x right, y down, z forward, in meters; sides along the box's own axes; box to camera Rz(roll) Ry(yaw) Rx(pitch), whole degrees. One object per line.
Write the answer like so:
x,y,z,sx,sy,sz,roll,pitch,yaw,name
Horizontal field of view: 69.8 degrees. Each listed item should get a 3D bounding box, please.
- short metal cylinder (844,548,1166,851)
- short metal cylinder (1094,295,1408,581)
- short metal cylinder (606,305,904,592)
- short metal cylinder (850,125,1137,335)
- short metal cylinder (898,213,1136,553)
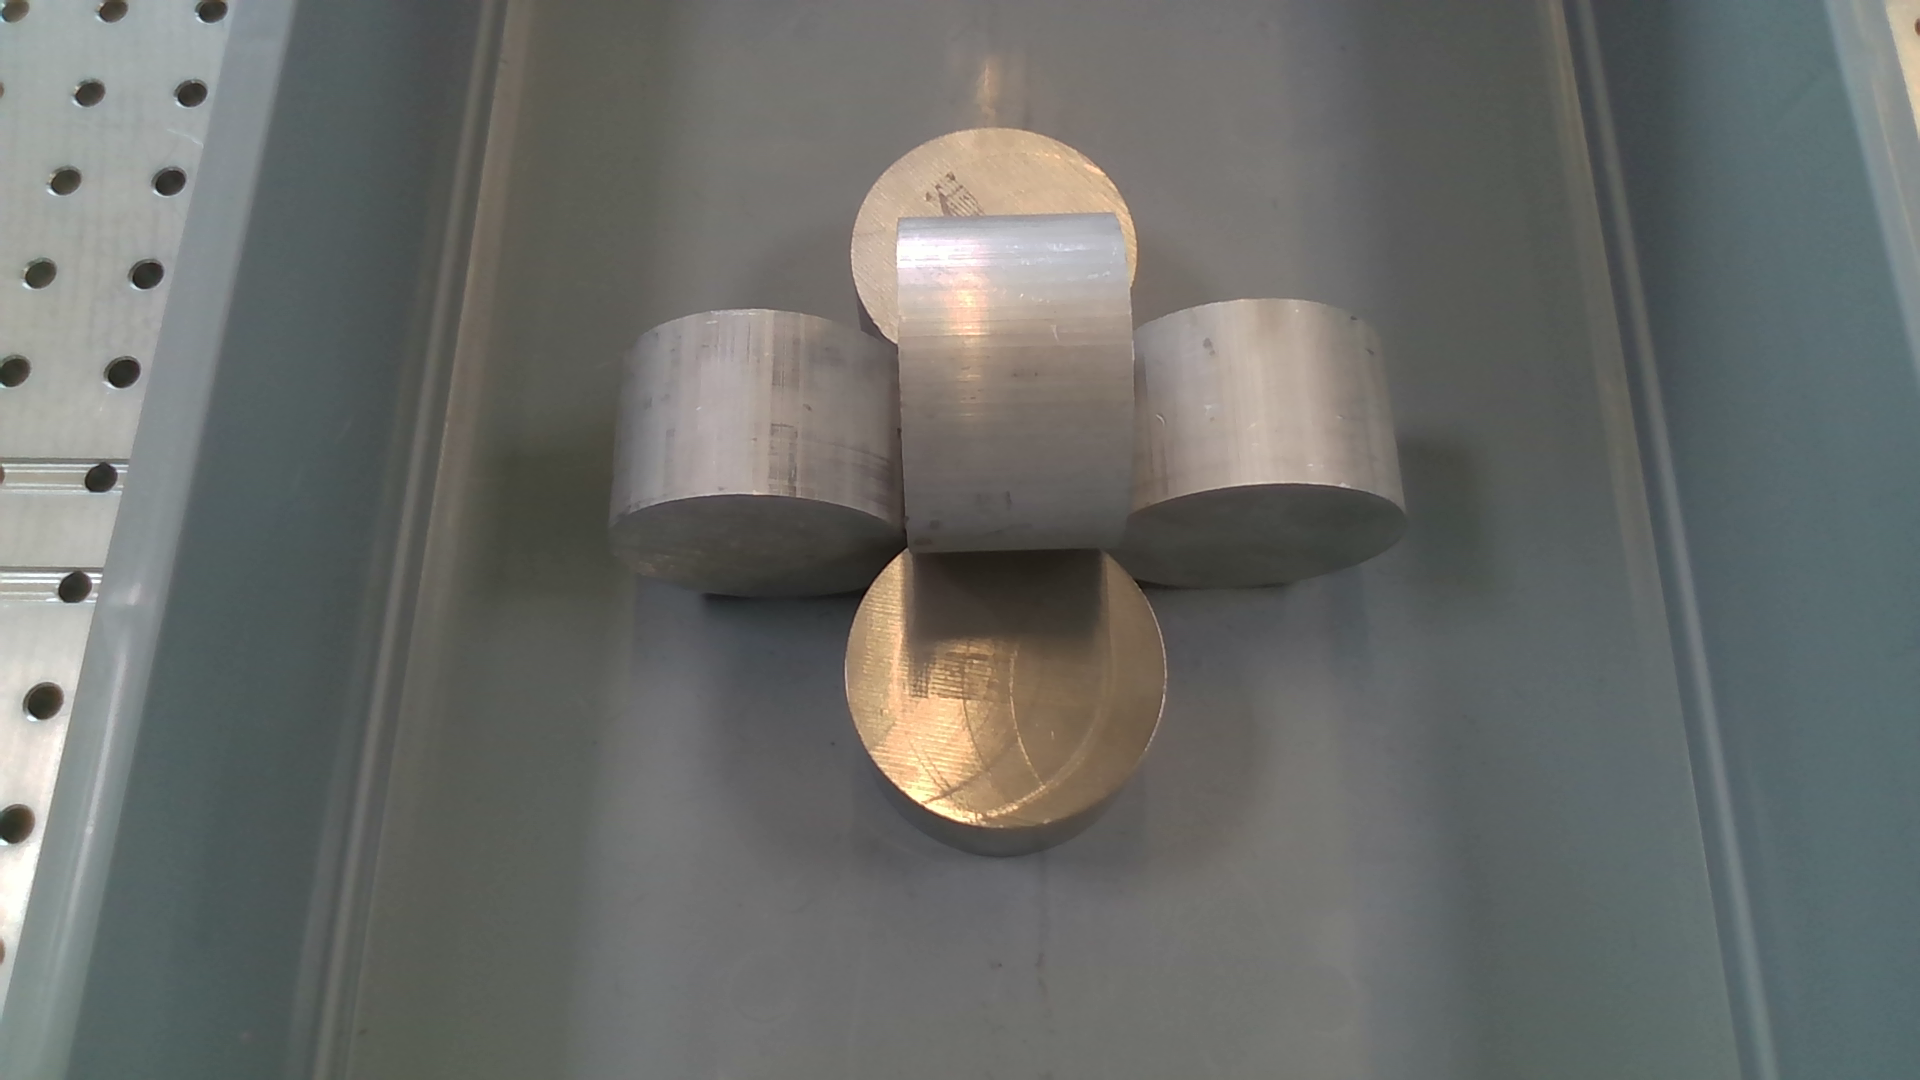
0.011,0.039,0.366,0.080,0.050,0.080,0,70,0,short metal cylinder
0.076,-0.024,0.373,0.080,0.080,0.050,-2,71,-1,short metal cylinder
-0.053,-0.022,0.373,0.080,0.080,0.050,-2,71,-1,short metal cylinder
0.009,-0.074,0.407,0.080,0.050,0.080,0,70,0,short metal cylinder
0.012,-0.037,0.331,0.050,0.080,0.080,-1,70,-1,short metal cylinder
